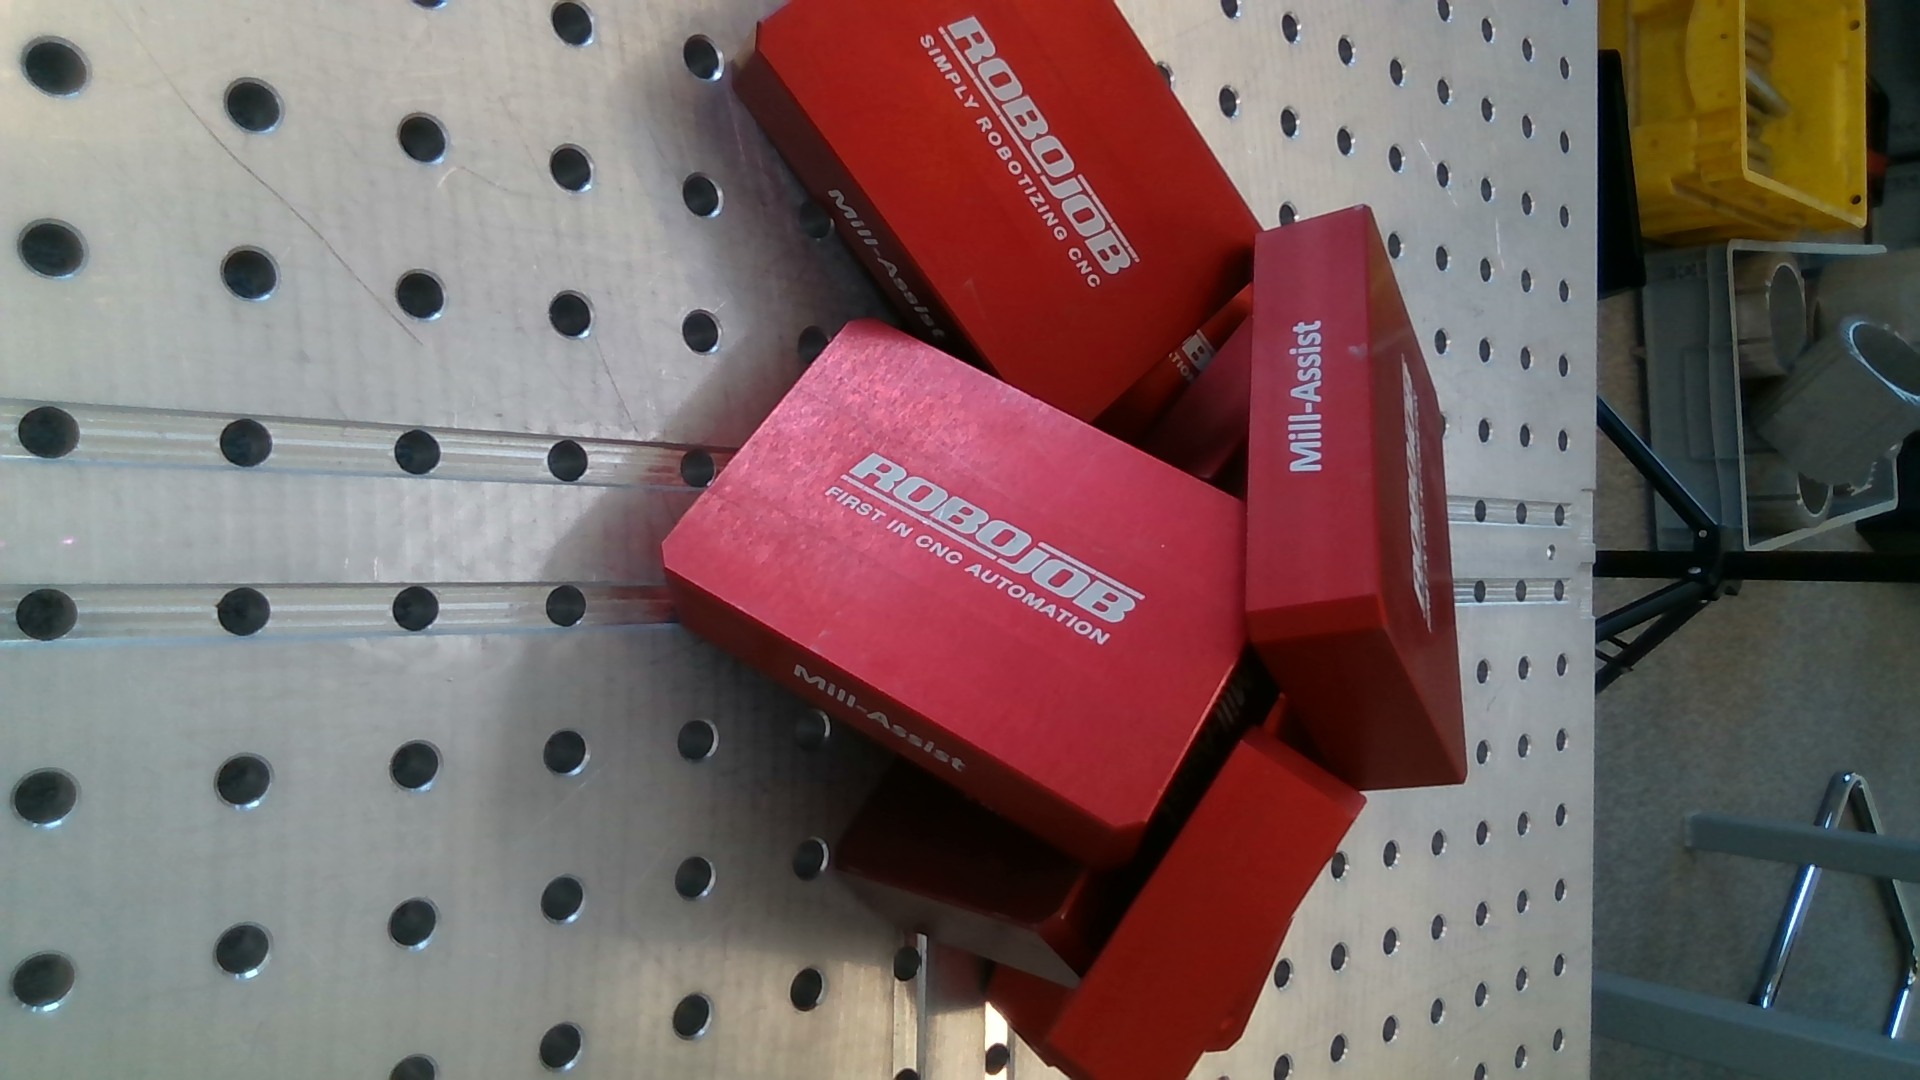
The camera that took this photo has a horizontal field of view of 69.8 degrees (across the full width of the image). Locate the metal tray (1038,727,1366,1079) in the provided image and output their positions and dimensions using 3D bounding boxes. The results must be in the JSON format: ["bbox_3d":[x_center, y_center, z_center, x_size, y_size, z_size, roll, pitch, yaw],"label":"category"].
[{"bbox_3d":[0.070,0.100,0.368,0.090,0.030,0.130,-56,160,-1],"label":"metal tray"}]

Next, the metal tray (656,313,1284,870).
[{"bbox_3d":[0.005,0.008,0.337,0.090,0.130,0.030,-54,164,-26],"label":"metal tray"}]

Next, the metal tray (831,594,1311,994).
[{"bbox_3d":[0.033,0.053,0.380,0.030,0.090,0.130,52,59,-27],"label":"metal tray"}]

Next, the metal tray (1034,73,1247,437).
[{"bbox_3d":[0.045,-0.078,0.428,0.130,0.030,0.090,46,62,-31],"label":"metal tray"}]

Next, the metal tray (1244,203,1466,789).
[{"bbox_3d":[0.105,-0.012,0.364,0.090,0.030,0.130,50,39,-44],"label":"metal tray"}]

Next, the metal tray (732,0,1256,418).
[{"bbox_3d":[0.014,-0.101,0.372,0.090,0.030,0.130,-42,105,-15],"label":"metal tray"}]

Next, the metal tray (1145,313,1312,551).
[{"bbox_3d":[0.107,-0.003,0.457,0.090,0.030,0.130,-50,134,-27],"label":"metal tray"}]

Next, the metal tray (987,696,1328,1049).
[{"bbox_3d":[0.070,0.093,0.421,0.090,0.030,0.130,13,101,-40],"label":"metal tray"}]
